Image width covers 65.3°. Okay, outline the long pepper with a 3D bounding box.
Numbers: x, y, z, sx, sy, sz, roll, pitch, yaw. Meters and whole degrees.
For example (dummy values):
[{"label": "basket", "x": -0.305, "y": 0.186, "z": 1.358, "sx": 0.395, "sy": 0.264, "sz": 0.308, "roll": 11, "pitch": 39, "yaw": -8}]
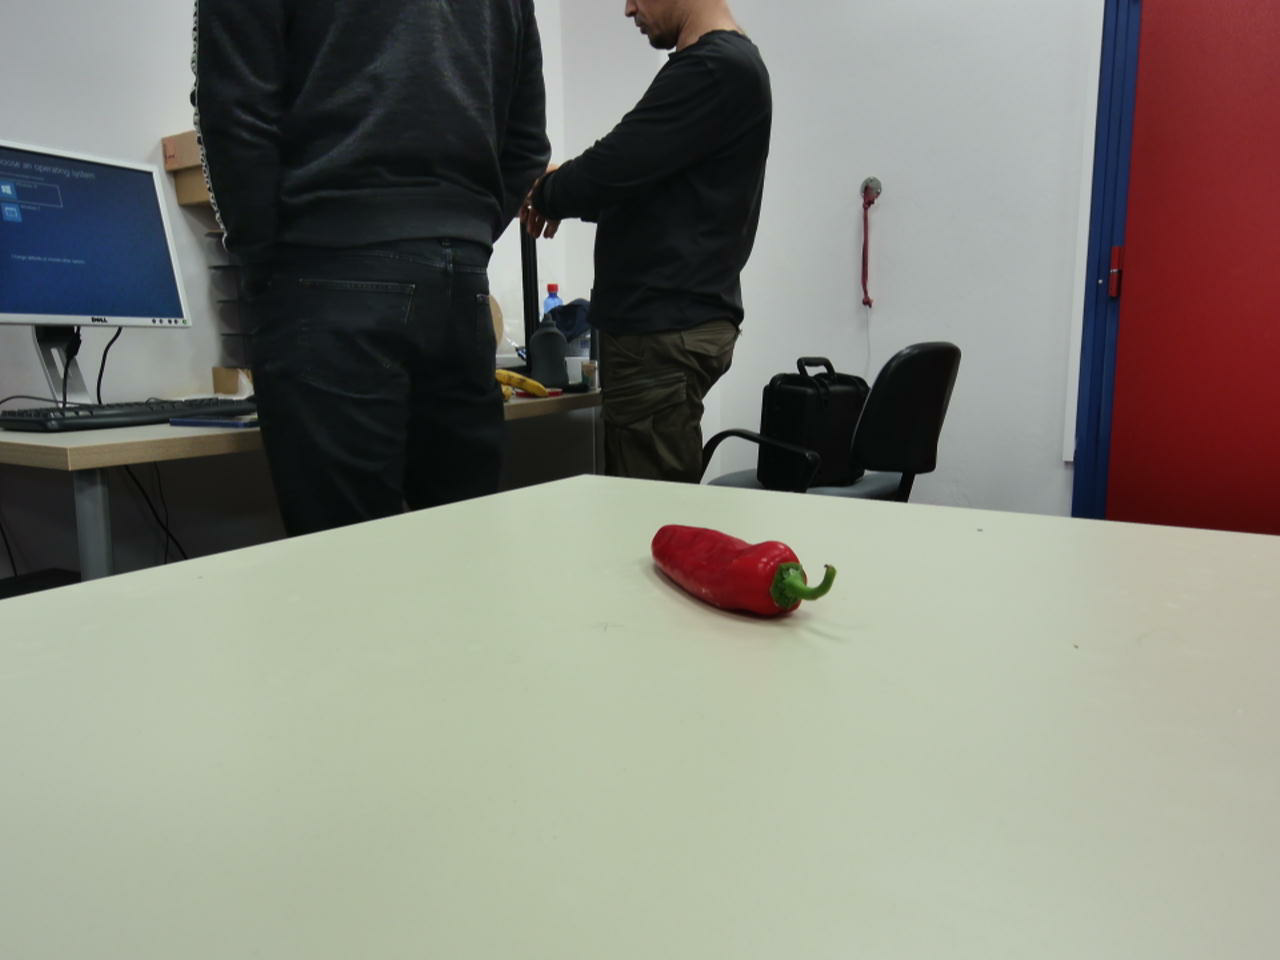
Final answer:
[{"label": "long pepper", "x": 0.051, "y": 0.051, "z": 0.620, "sx": 0.050, "sy": 0.043, "sz": 0.211, "roll": -3, "pitch": 7, "yaw": -23}]
